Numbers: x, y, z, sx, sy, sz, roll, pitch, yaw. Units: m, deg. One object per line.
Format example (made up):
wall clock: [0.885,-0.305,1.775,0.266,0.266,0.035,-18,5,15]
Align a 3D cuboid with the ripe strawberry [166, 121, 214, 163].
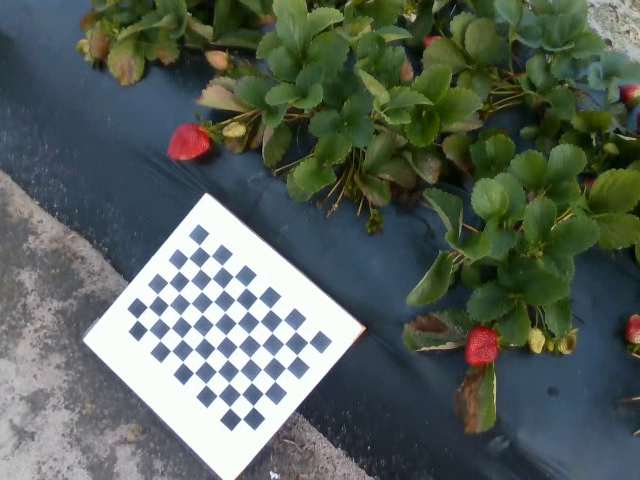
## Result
ripe strawberry: [-0.211,-0.156,0.974,0.067,0.074,0.039,44,1,15]
